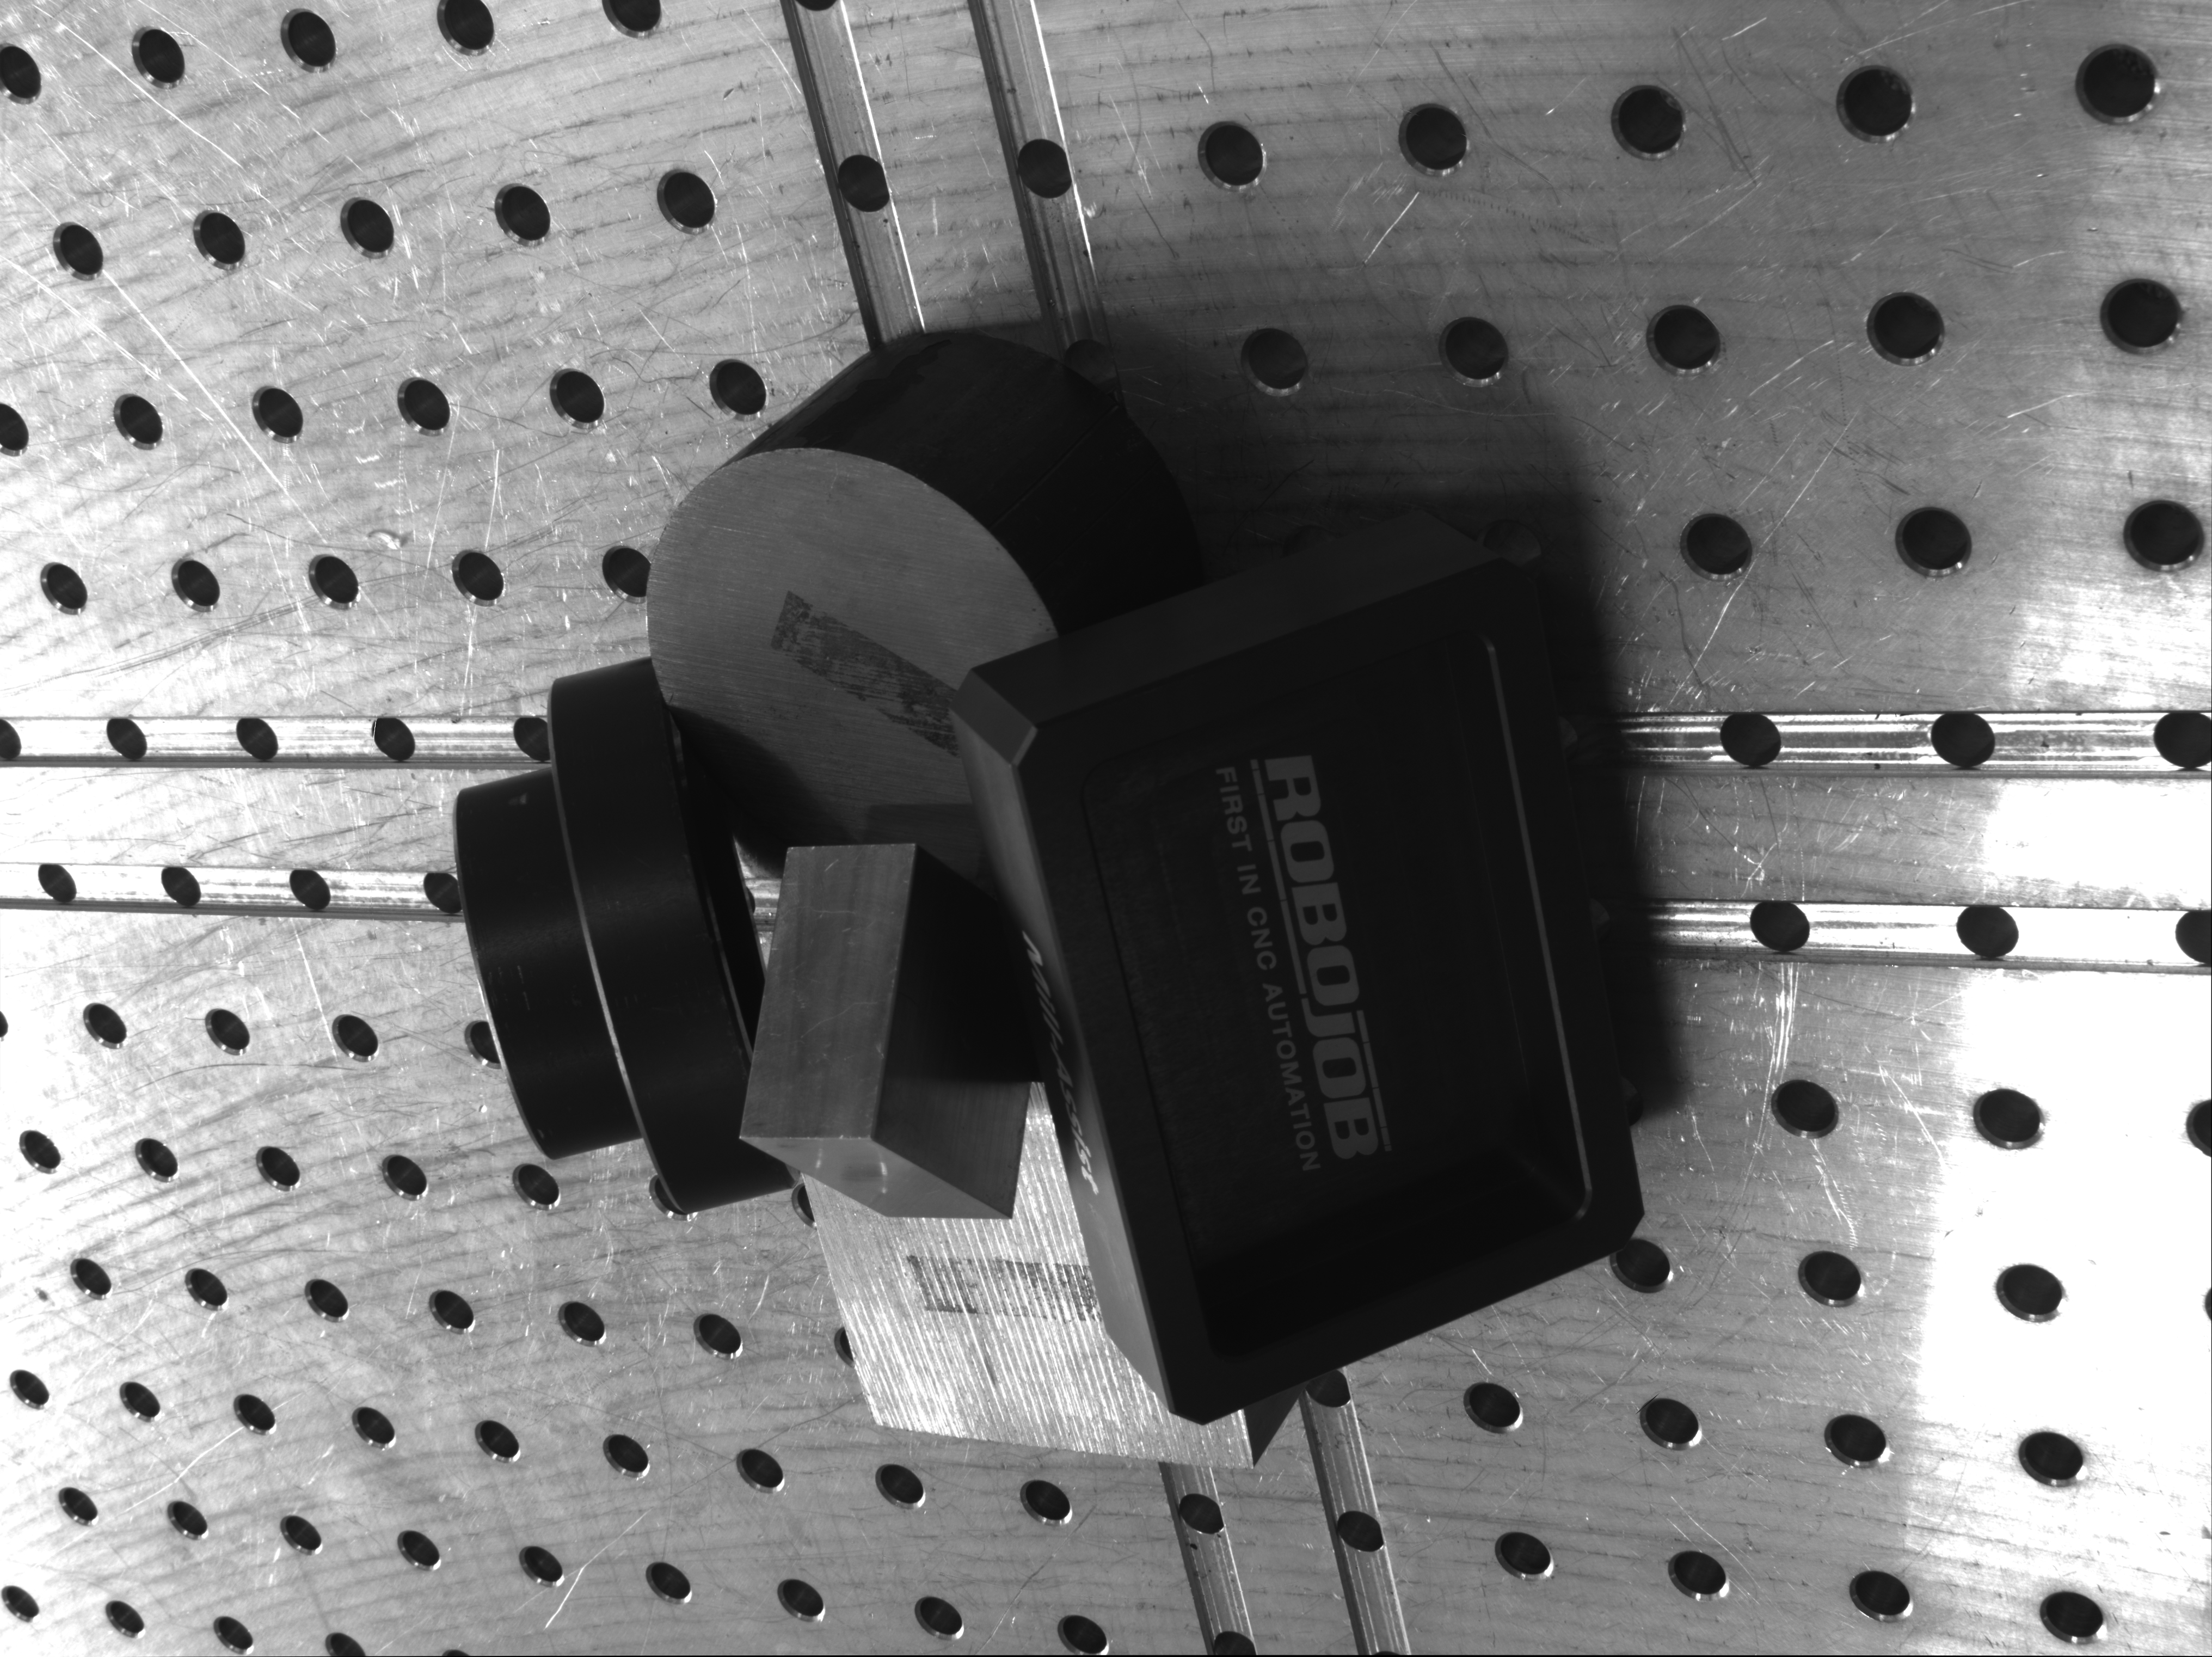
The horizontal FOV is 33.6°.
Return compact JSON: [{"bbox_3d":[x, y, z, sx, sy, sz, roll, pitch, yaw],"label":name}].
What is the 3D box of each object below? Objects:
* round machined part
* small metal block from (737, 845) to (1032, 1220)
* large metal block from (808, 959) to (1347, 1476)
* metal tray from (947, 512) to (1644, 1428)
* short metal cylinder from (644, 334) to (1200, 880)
[{"bbox_3d":[-0.087,0.022,0.653,0.042,0.098,0.098,-14,115,-2],"label":"round machined part"},{"bbox_3d":[-0.035,0.035,0.615,0.025,0.050,0.050,-2,160,26],"label":"small metal block"},{"bbox_3d":[-0.006,0.067,0.673,0.080,0.050,0.080,2,119,27],"label":"large metal block"},{"bbox_3d":[0.034,0.024,0.602,0.030,0.090,0.130,-138,31,-61],"label":"metal tray"},{"bbox_3d":[-0.031,-0.037,0.622,0.080,0.050,0.080,13,124,21],"label":"short metal cylinder"}]
